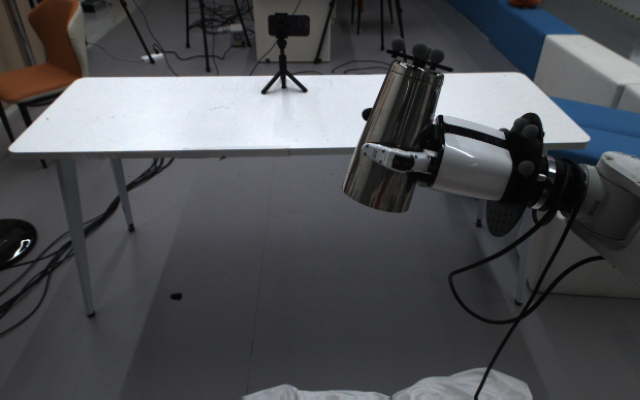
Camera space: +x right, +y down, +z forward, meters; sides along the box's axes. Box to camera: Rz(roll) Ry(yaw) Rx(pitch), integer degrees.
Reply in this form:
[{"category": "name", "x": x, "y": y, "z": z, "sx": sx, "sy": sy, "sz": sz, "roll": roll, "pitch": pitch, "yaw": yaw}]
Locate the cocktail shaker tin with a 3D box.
[{"category": "cocktail shaker tin", "x": 0.095, "y": -0.082, "z": 0.605, "sx": 0.093, "sy": 0.170, "sz": 0.093, "roll": 15, "pitch": 20, "yaw": -5}]
